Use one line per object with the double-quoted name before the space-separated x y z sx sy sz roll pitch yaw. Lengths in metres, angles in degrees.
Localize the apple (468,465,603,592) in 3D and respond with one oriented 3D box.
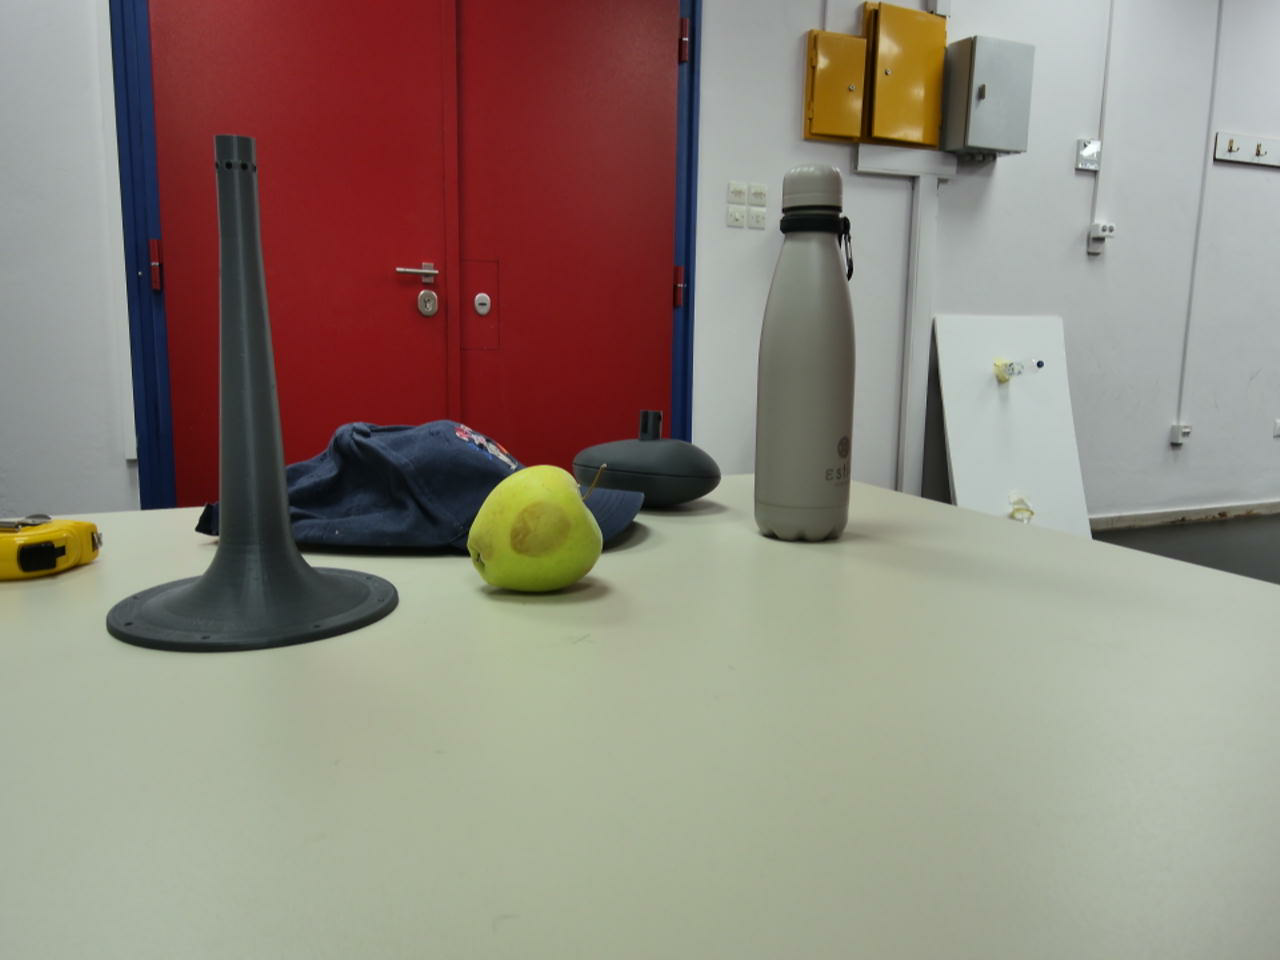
"apple" -0.062 0.028 0.603 0.077 0.075 0.072 4 8 19
